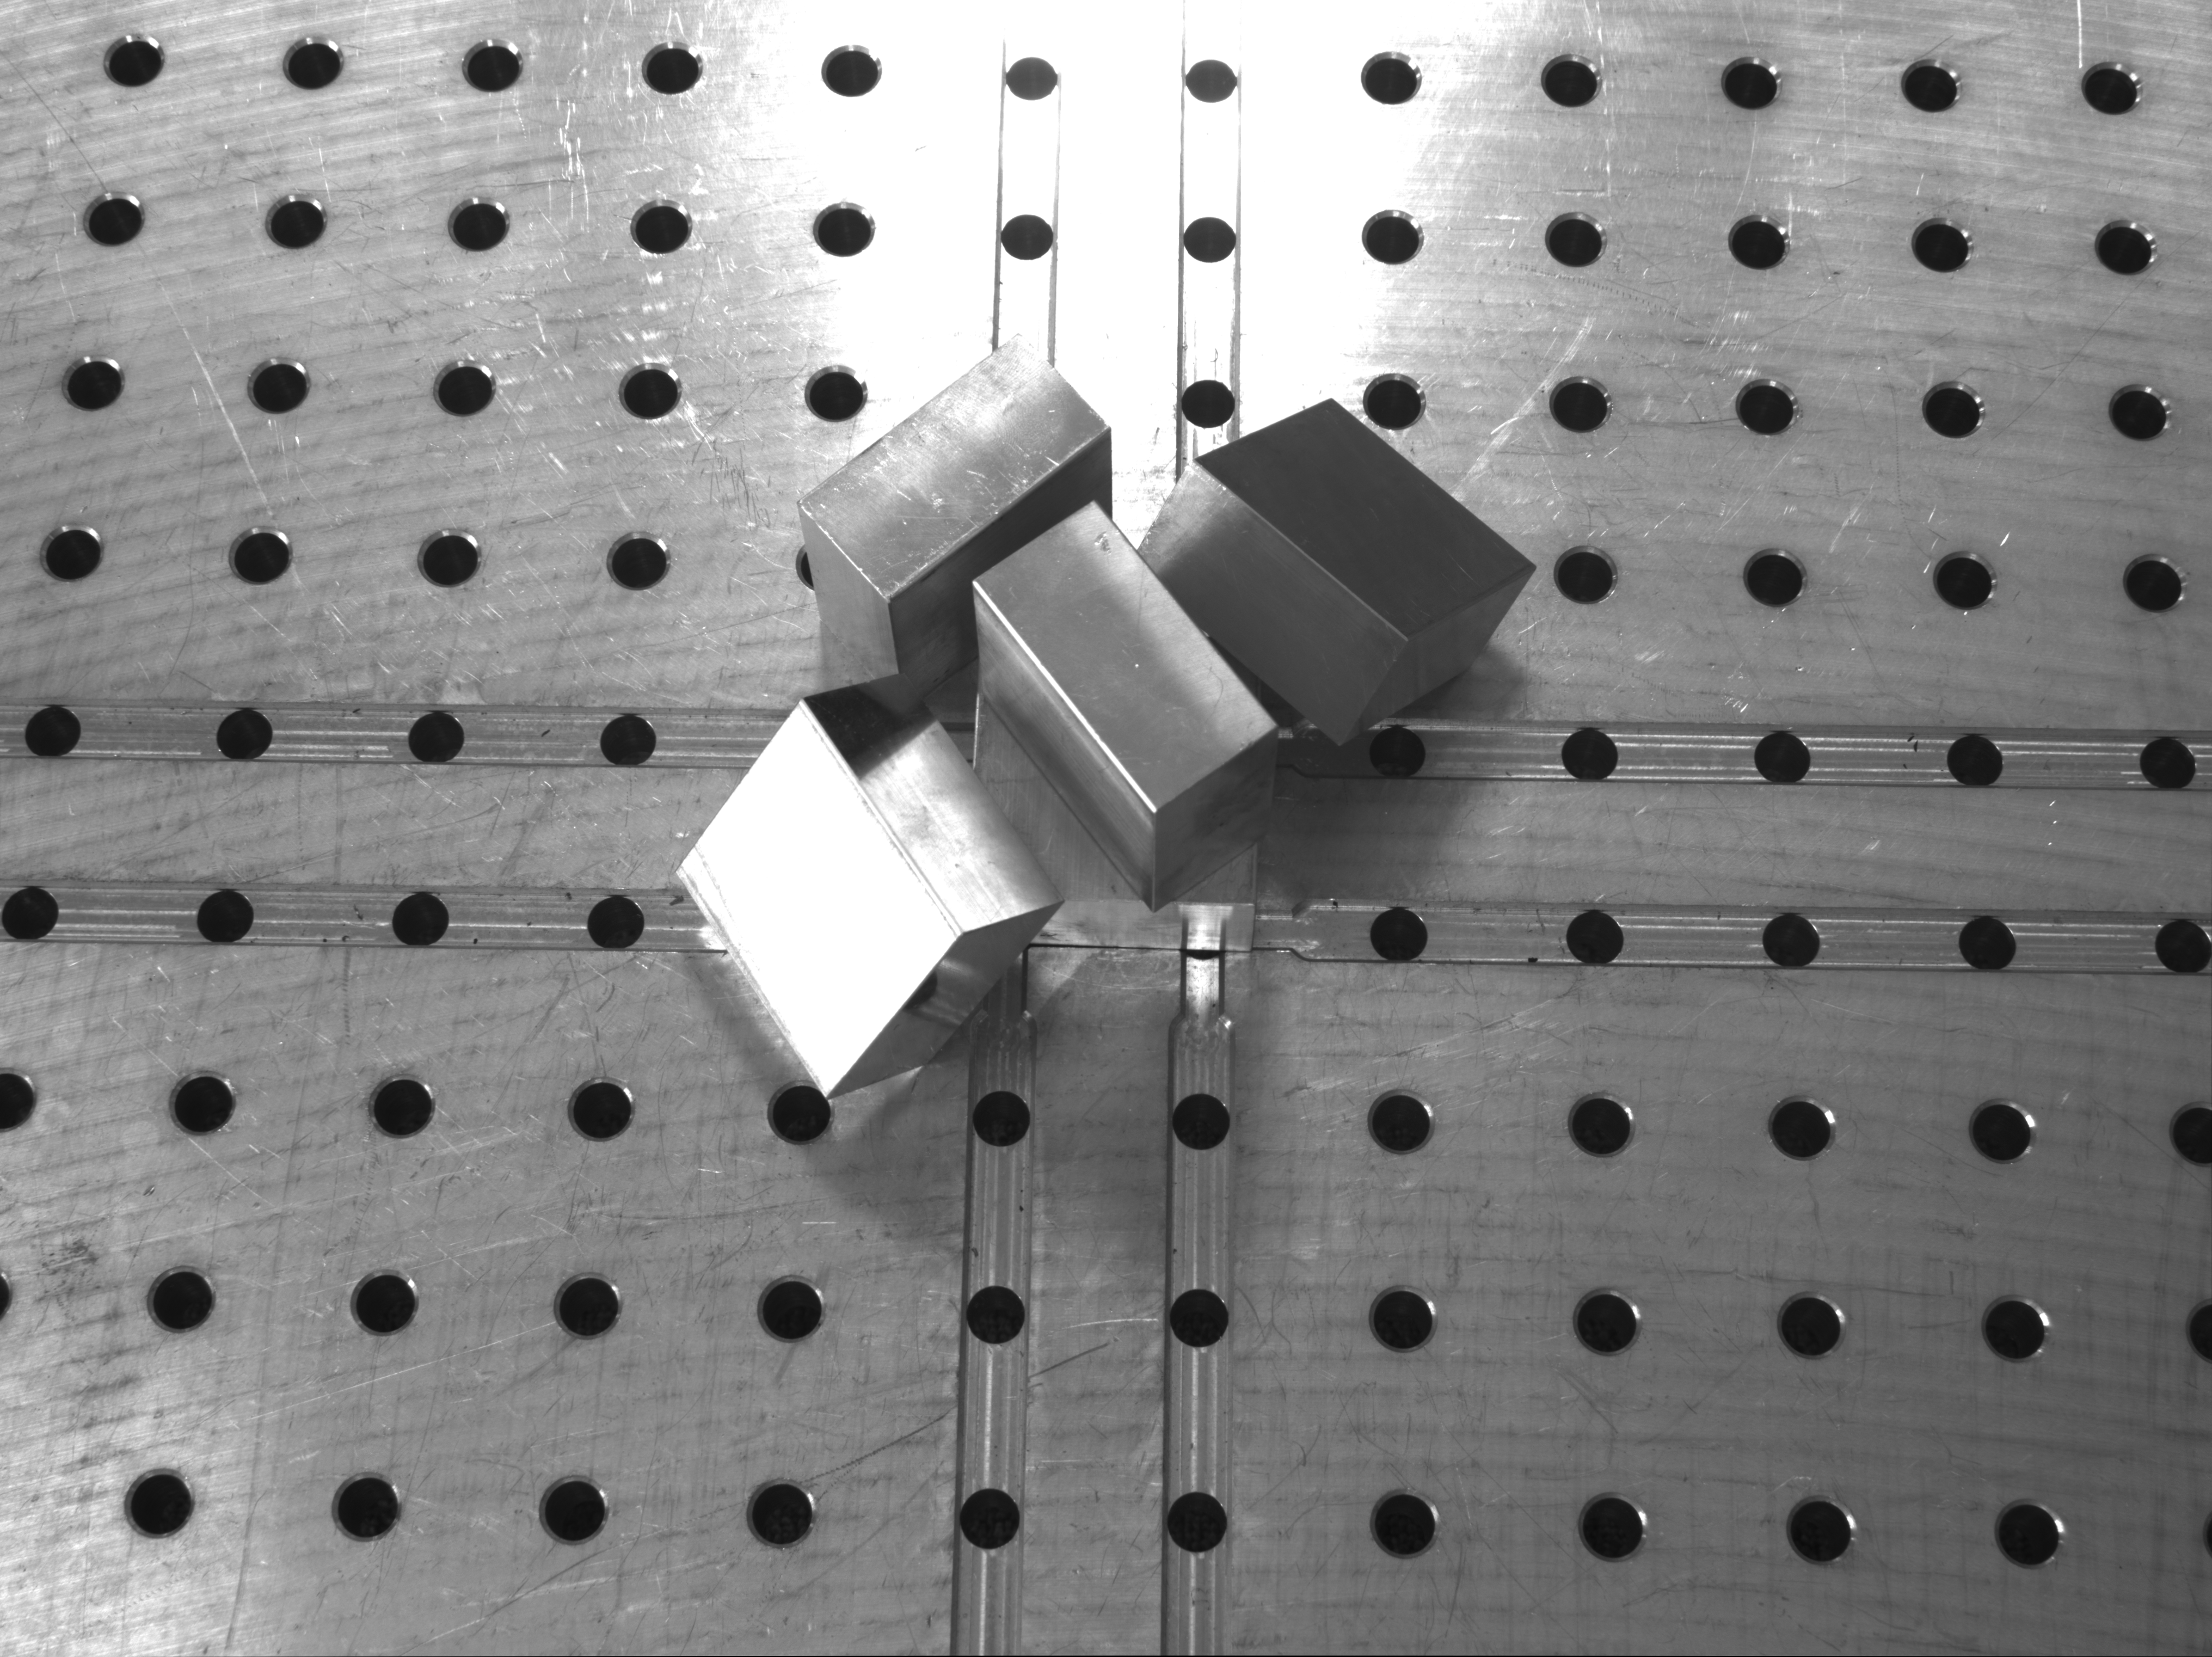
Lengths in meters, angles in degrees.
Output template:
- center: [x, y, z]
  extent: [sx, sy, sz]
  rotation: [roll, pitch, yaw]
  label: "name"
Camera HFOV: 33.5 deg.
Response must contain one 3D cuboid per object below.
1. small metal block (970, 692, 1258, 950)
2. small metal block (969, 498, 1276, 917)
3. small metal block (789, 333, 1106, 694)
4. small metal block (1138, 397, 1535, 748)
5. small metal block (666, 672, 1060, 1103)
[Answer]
- center: [0.001, -0.007, 0.650]
  extent: [0.050, 0.025, 0.050]
  rotation: [1, 69, -1]
  label: "small metal block"
- center: [0.002, -0.019, 0.615]
  extent: [0.025, 0.050, 0.050]
  rotation: [-34, 74, -12]
  label: "small metal block"
- center: [-0.027, -0.054, 0.654]
  extent: [0.050, 0.050, 0.025]
  rotation: [-39, 74, -13]
  label: "small metal block"
- center: [0.040, -0.046, 0.651]
  extent: [0.050, 0.025, 0.050]
  rotation: [41, 35, 14]
  label: "small metal block"
- center: [-0.042, 0.010, 0.628]
  extent: [0.025, 0.050, 0.050]
  rotation: [-17, 65, -46]
  label: "small metal block"
